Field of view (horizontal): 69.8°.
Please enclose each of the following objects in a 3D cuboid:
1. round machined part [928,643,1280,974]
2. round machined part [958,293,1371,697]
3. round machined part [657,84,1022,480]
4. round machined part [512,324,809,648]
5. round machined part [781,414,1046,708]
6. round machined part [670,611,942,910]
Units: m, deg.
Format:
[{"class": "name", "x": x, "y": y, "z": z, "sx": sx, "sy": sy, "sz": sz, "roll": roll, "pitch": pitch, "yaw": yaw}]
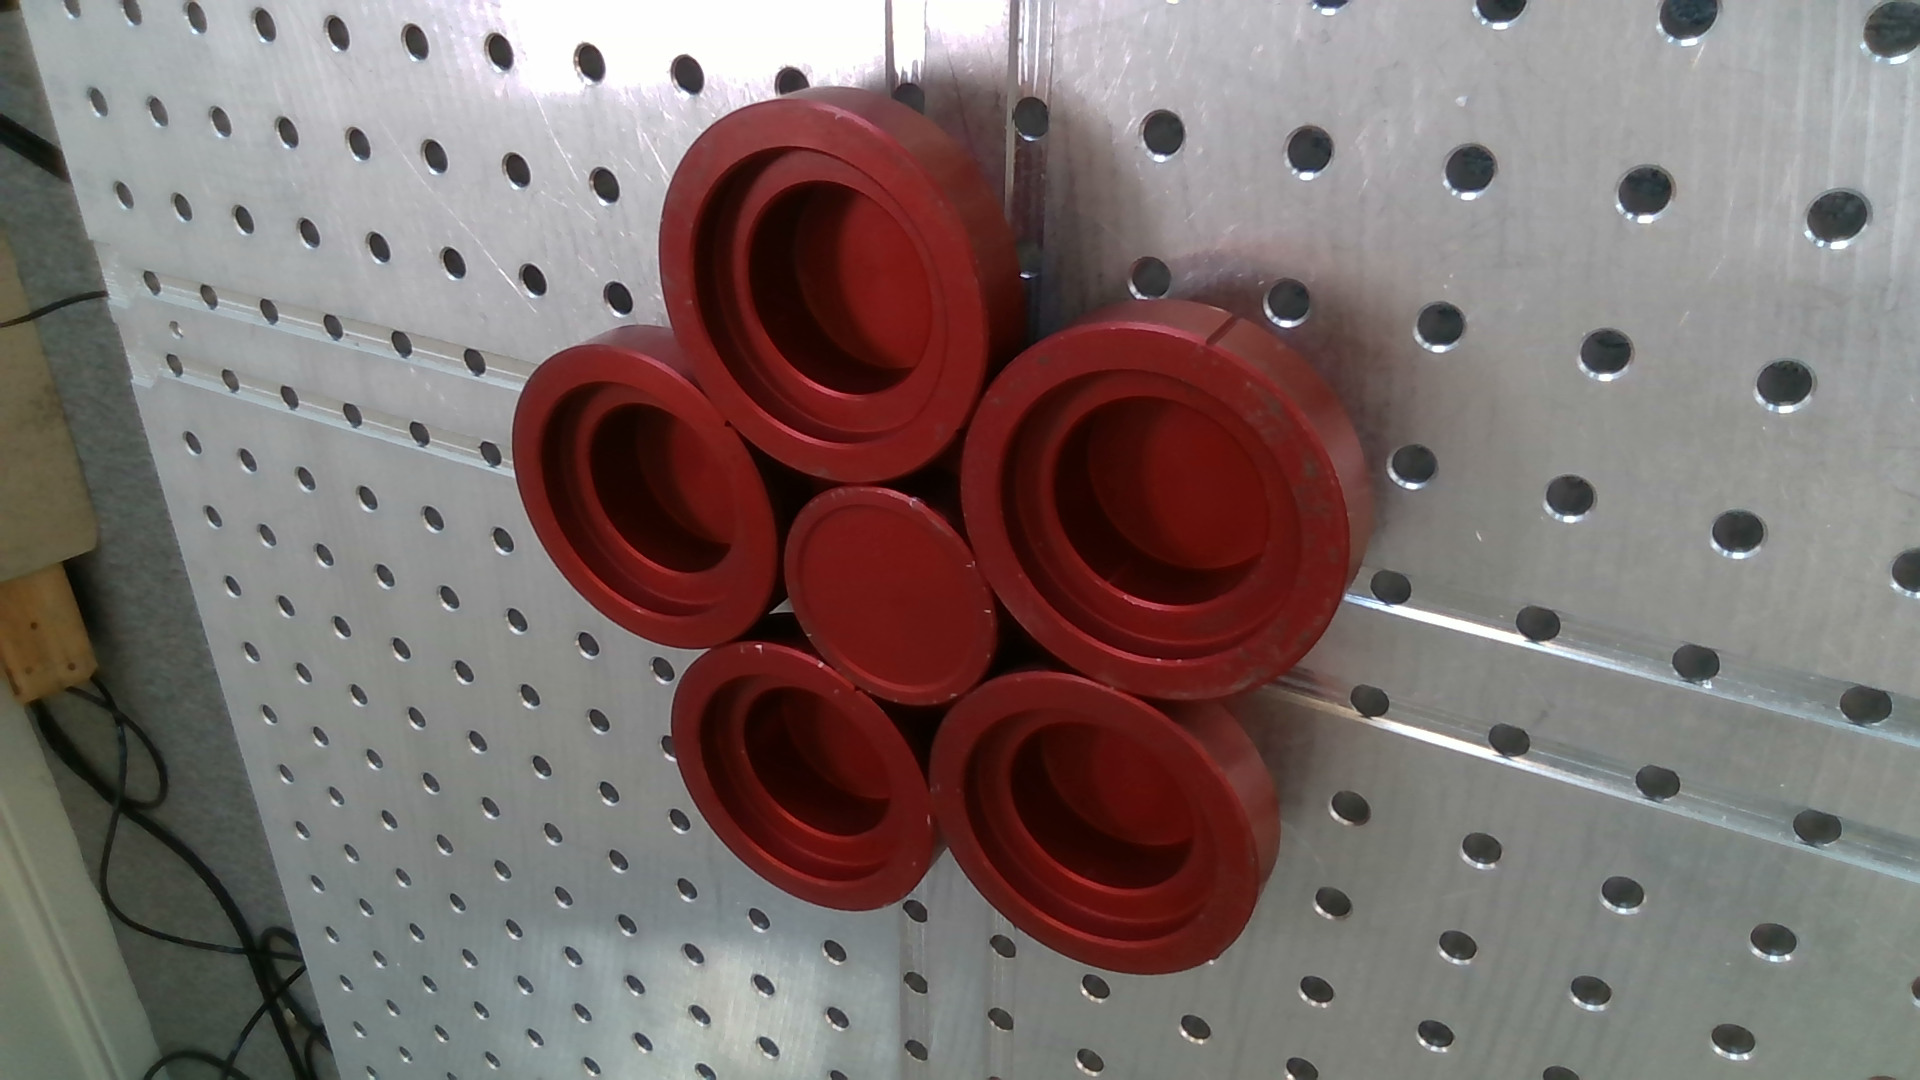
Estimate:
[{"class": "round machined part", "x": 0.043, "y": 0.071, "z": 0.392, "sx": 0.098, "sy": 0.042, "sz": 0.098, "roll": 14, "pitch": 122, "yaw": 25}, {"class": "round machined part", "x": 0.052, "y": -0.014, "z": 0.341, "sx": 0.098, "sy": 0.042, "sz": 0.098, "roll": 14, "pitch": 122, "yaw": 25}, {"class": "round machined part", "x": -0.027, "y": -0.068, "z": 0.359, "sx": 0.098, "sy": 0.042, "sz": 0.098, "roll": 14, "pitch": 122, "yaw": 25}, {"class": "round machined part", "x": -0.086, "y": -0.019, "z": 0.422, "sx": 0.098, "sy": 0.042, "sz": 0.098, "roll": 14, "pitch": 122, "yaw": 25}, {"class": "round machined part", "x": -0.011, "y": 0.007, "z": 0.390, "sx": 0.098, "sy": 0.042, "sz": 0.098, "roll": 14, "pitch": 122, "yaw": 25}, {"class": "round machined part", "x": -0.041, "y": 0.066, "z": 0.442, "sx": 0.098, "sy": 0.042, "sz": 0.098, "roll": 14, "pitch": 122, "yaw": 25}]
